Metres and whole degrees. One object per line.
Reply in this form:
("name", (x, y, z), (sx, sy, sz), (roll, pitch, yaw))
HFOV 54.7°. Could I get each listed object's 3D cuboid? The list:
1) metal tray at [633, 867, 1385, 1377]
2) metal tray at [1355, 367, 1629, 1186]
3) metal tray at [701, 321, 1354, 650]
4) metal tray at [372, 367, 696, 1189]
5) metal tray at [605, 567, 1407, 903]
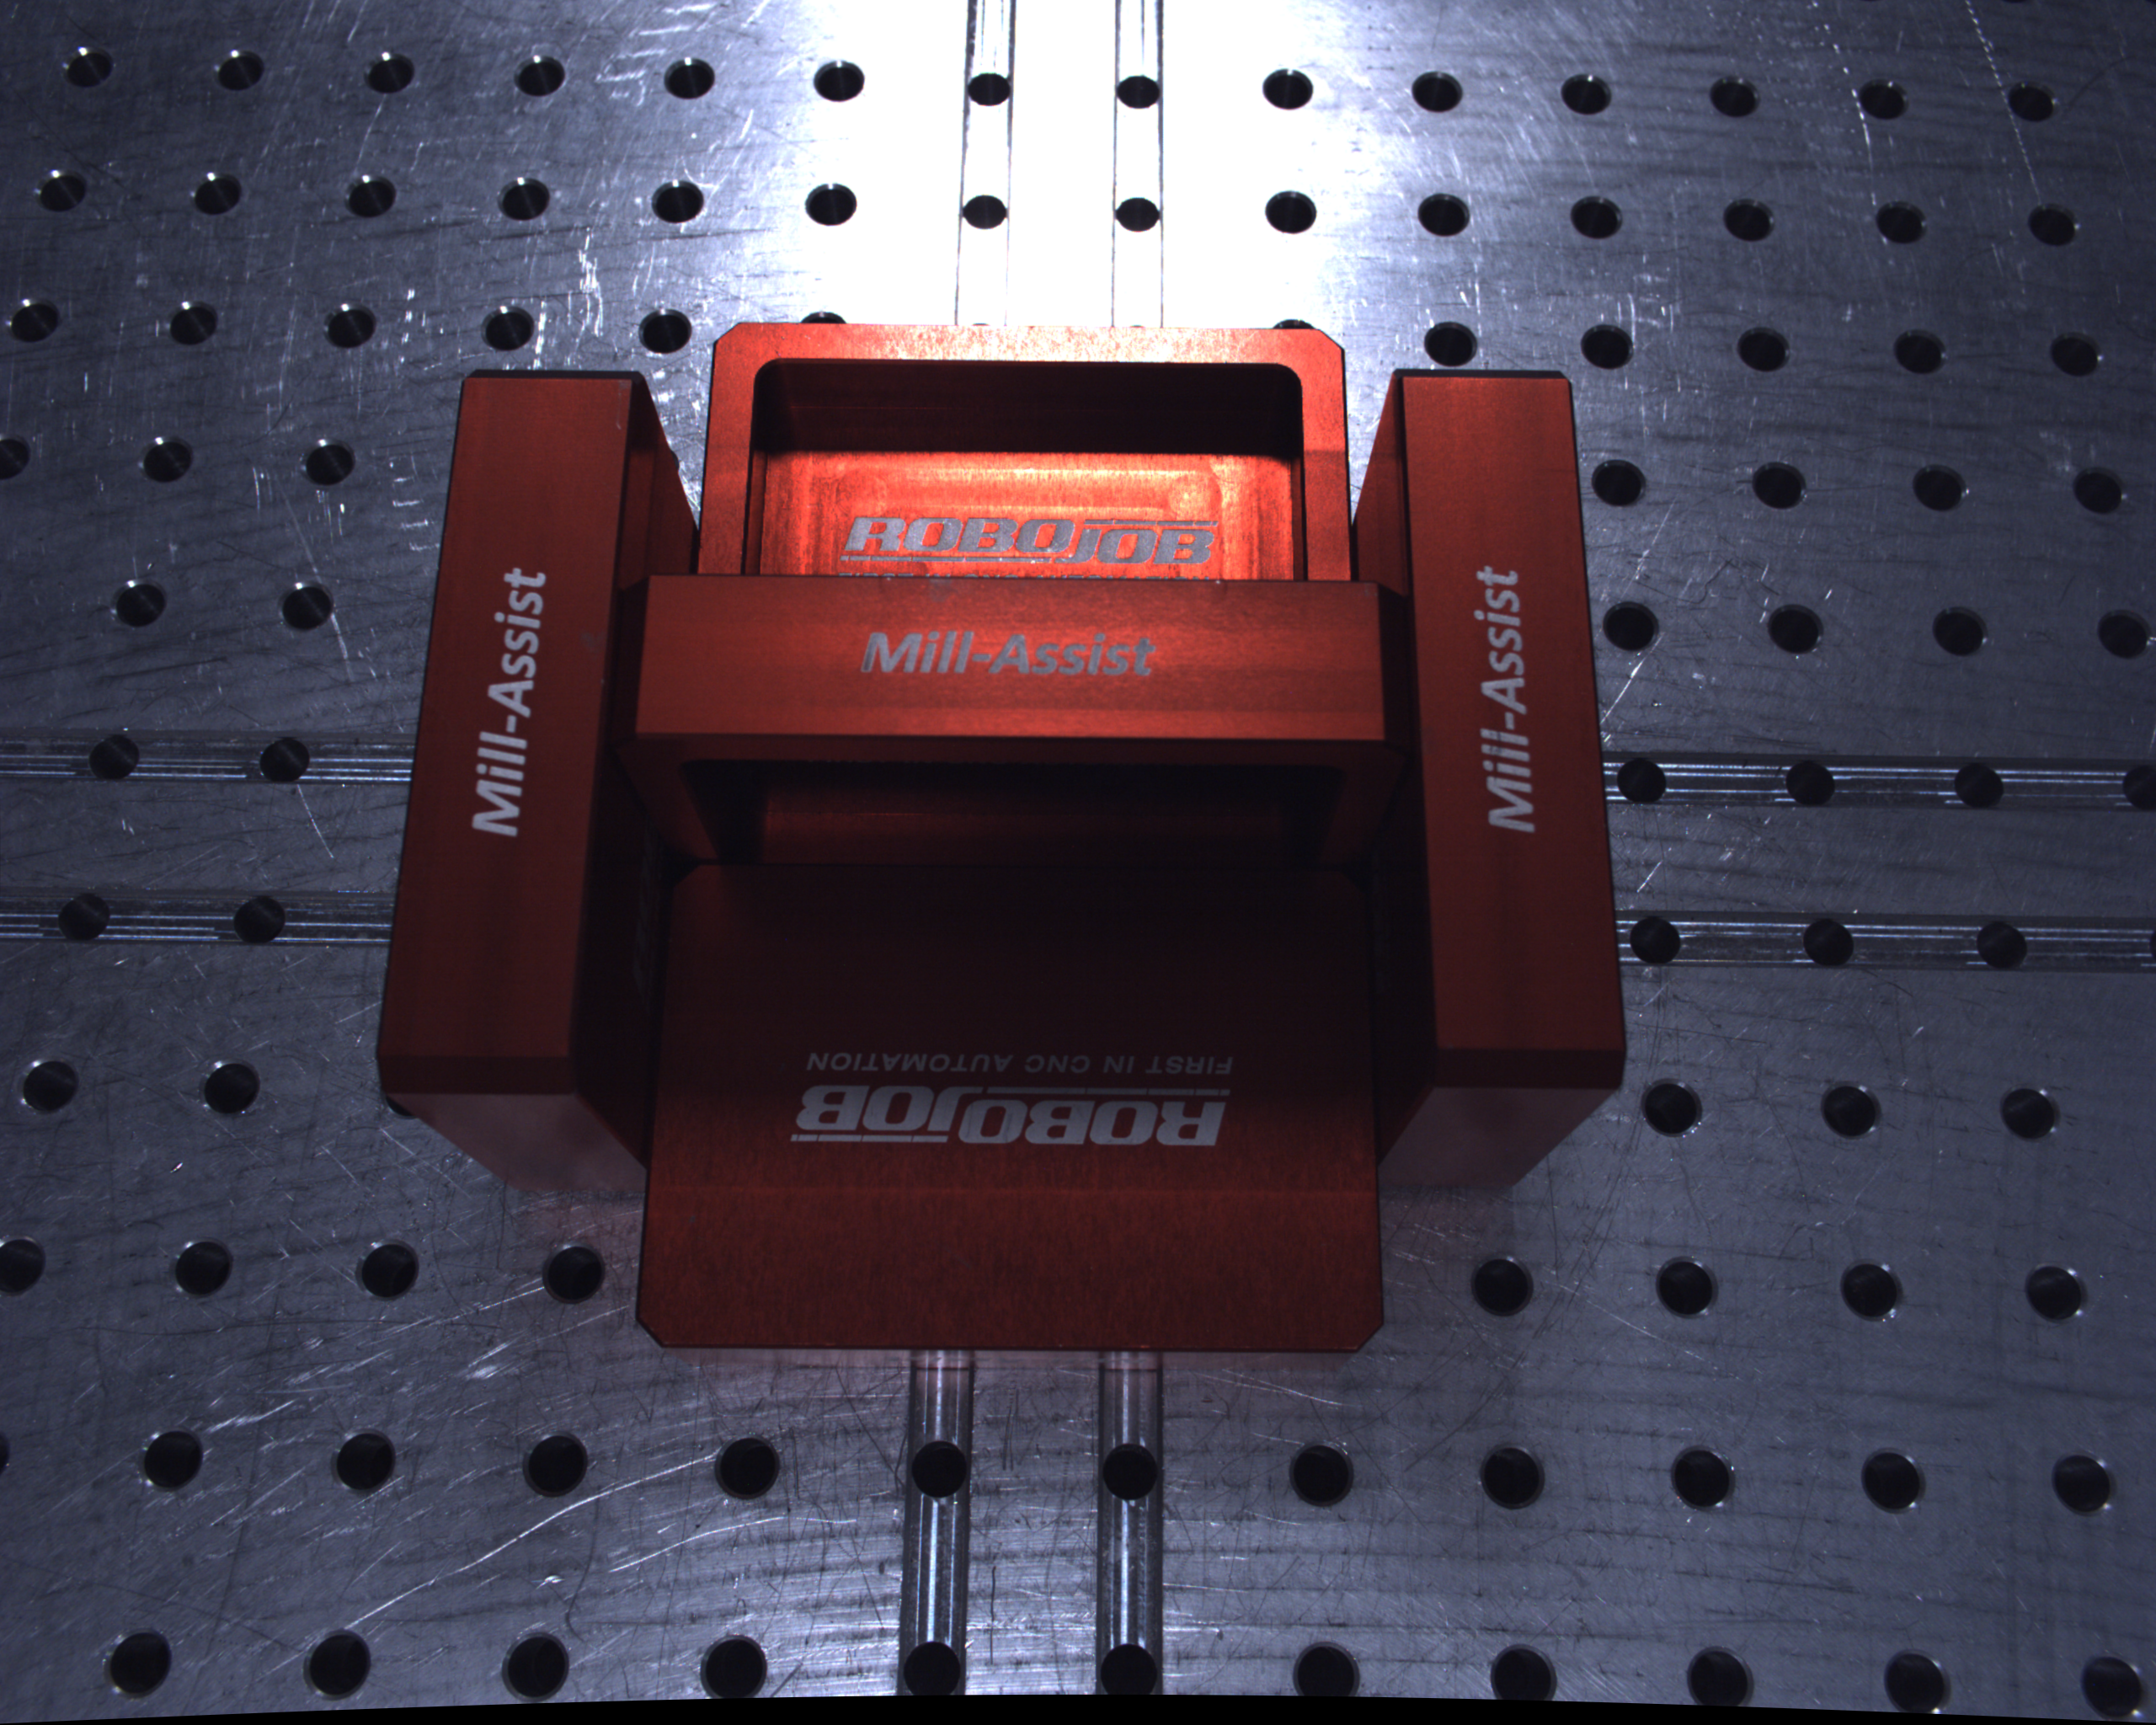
("metal tray", (-0.012, 0.048, 0.390), (0.131, 0.030, 0.090), (1, 70, 0))
("metal tray", (0.070, -0.013, 0.382), (0.030, 0.090, 0.130), (1, 70, 0))
("metal tray", (-0.010, -0.065, 0.433), (0.131, 0.030, 0.090), (1, 70, 0))
("metal tray", (-0.092, -0.012, 0.380), (0.030, 0.090, 0.130), (1, 70, 0))
("metal tray", (-0.012, -0.020, 0.382), (0.131, 0.090, 0.030), (1, 70, 0))
